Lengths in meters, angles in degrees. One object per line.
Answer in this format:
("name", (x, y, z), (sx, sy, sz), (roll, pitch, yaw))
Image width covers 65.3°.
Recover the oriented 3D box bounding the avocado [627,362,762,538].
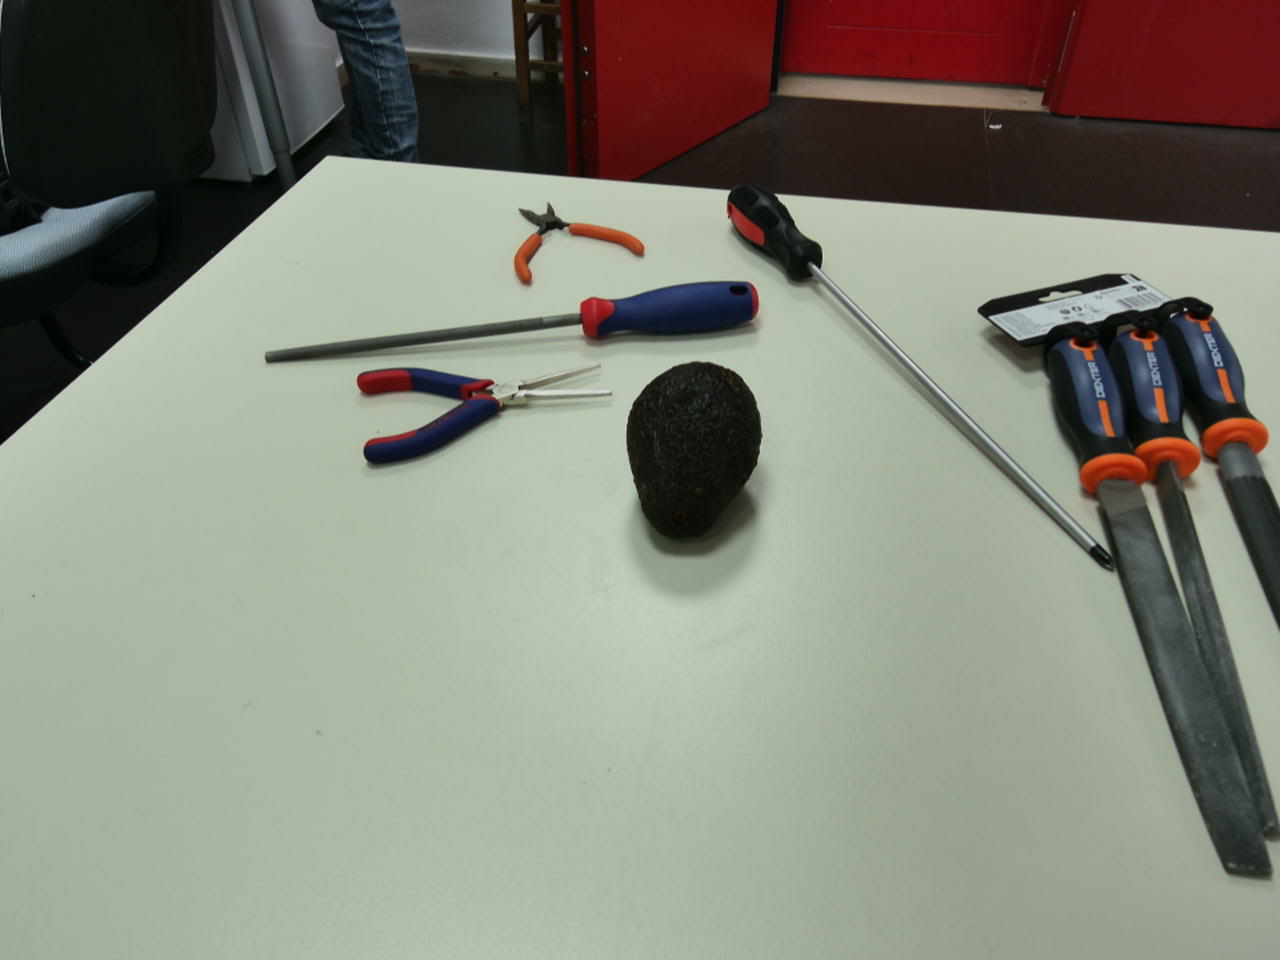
("avocado", (0.024, -0.021, 0.511), (0.070, 0.069, 0.090), (26, 46, 29))
